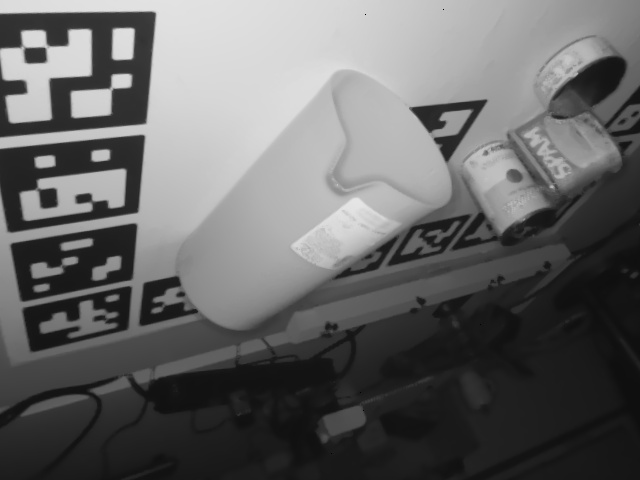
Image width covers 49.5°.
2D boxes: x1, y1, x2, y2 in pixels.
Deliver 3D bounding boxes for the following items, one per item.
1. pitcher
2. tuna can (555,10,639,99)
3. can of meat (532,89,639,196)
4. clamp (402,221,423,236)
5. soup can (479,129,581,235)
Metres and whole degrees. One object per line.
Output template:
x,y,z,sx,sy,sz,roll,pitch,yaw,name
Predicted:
0.005,-0.032,0.614,0.238,0.133,0.192,-40,170,37,pitcher
0.278,-0.183,0.687,0.086,0.034,0.085,-19,148,-12,tuna can
0.291,-0.110,0.738,0.083,0.102,0.058,-33,148,6,can of meat
0.062,-0.036,0.775,0.167,0.036,0.120,-7,150,-23,clamp
0.232,-0.065,0.774,0.068,0.102,0.067,-21,149,-12,soup can
